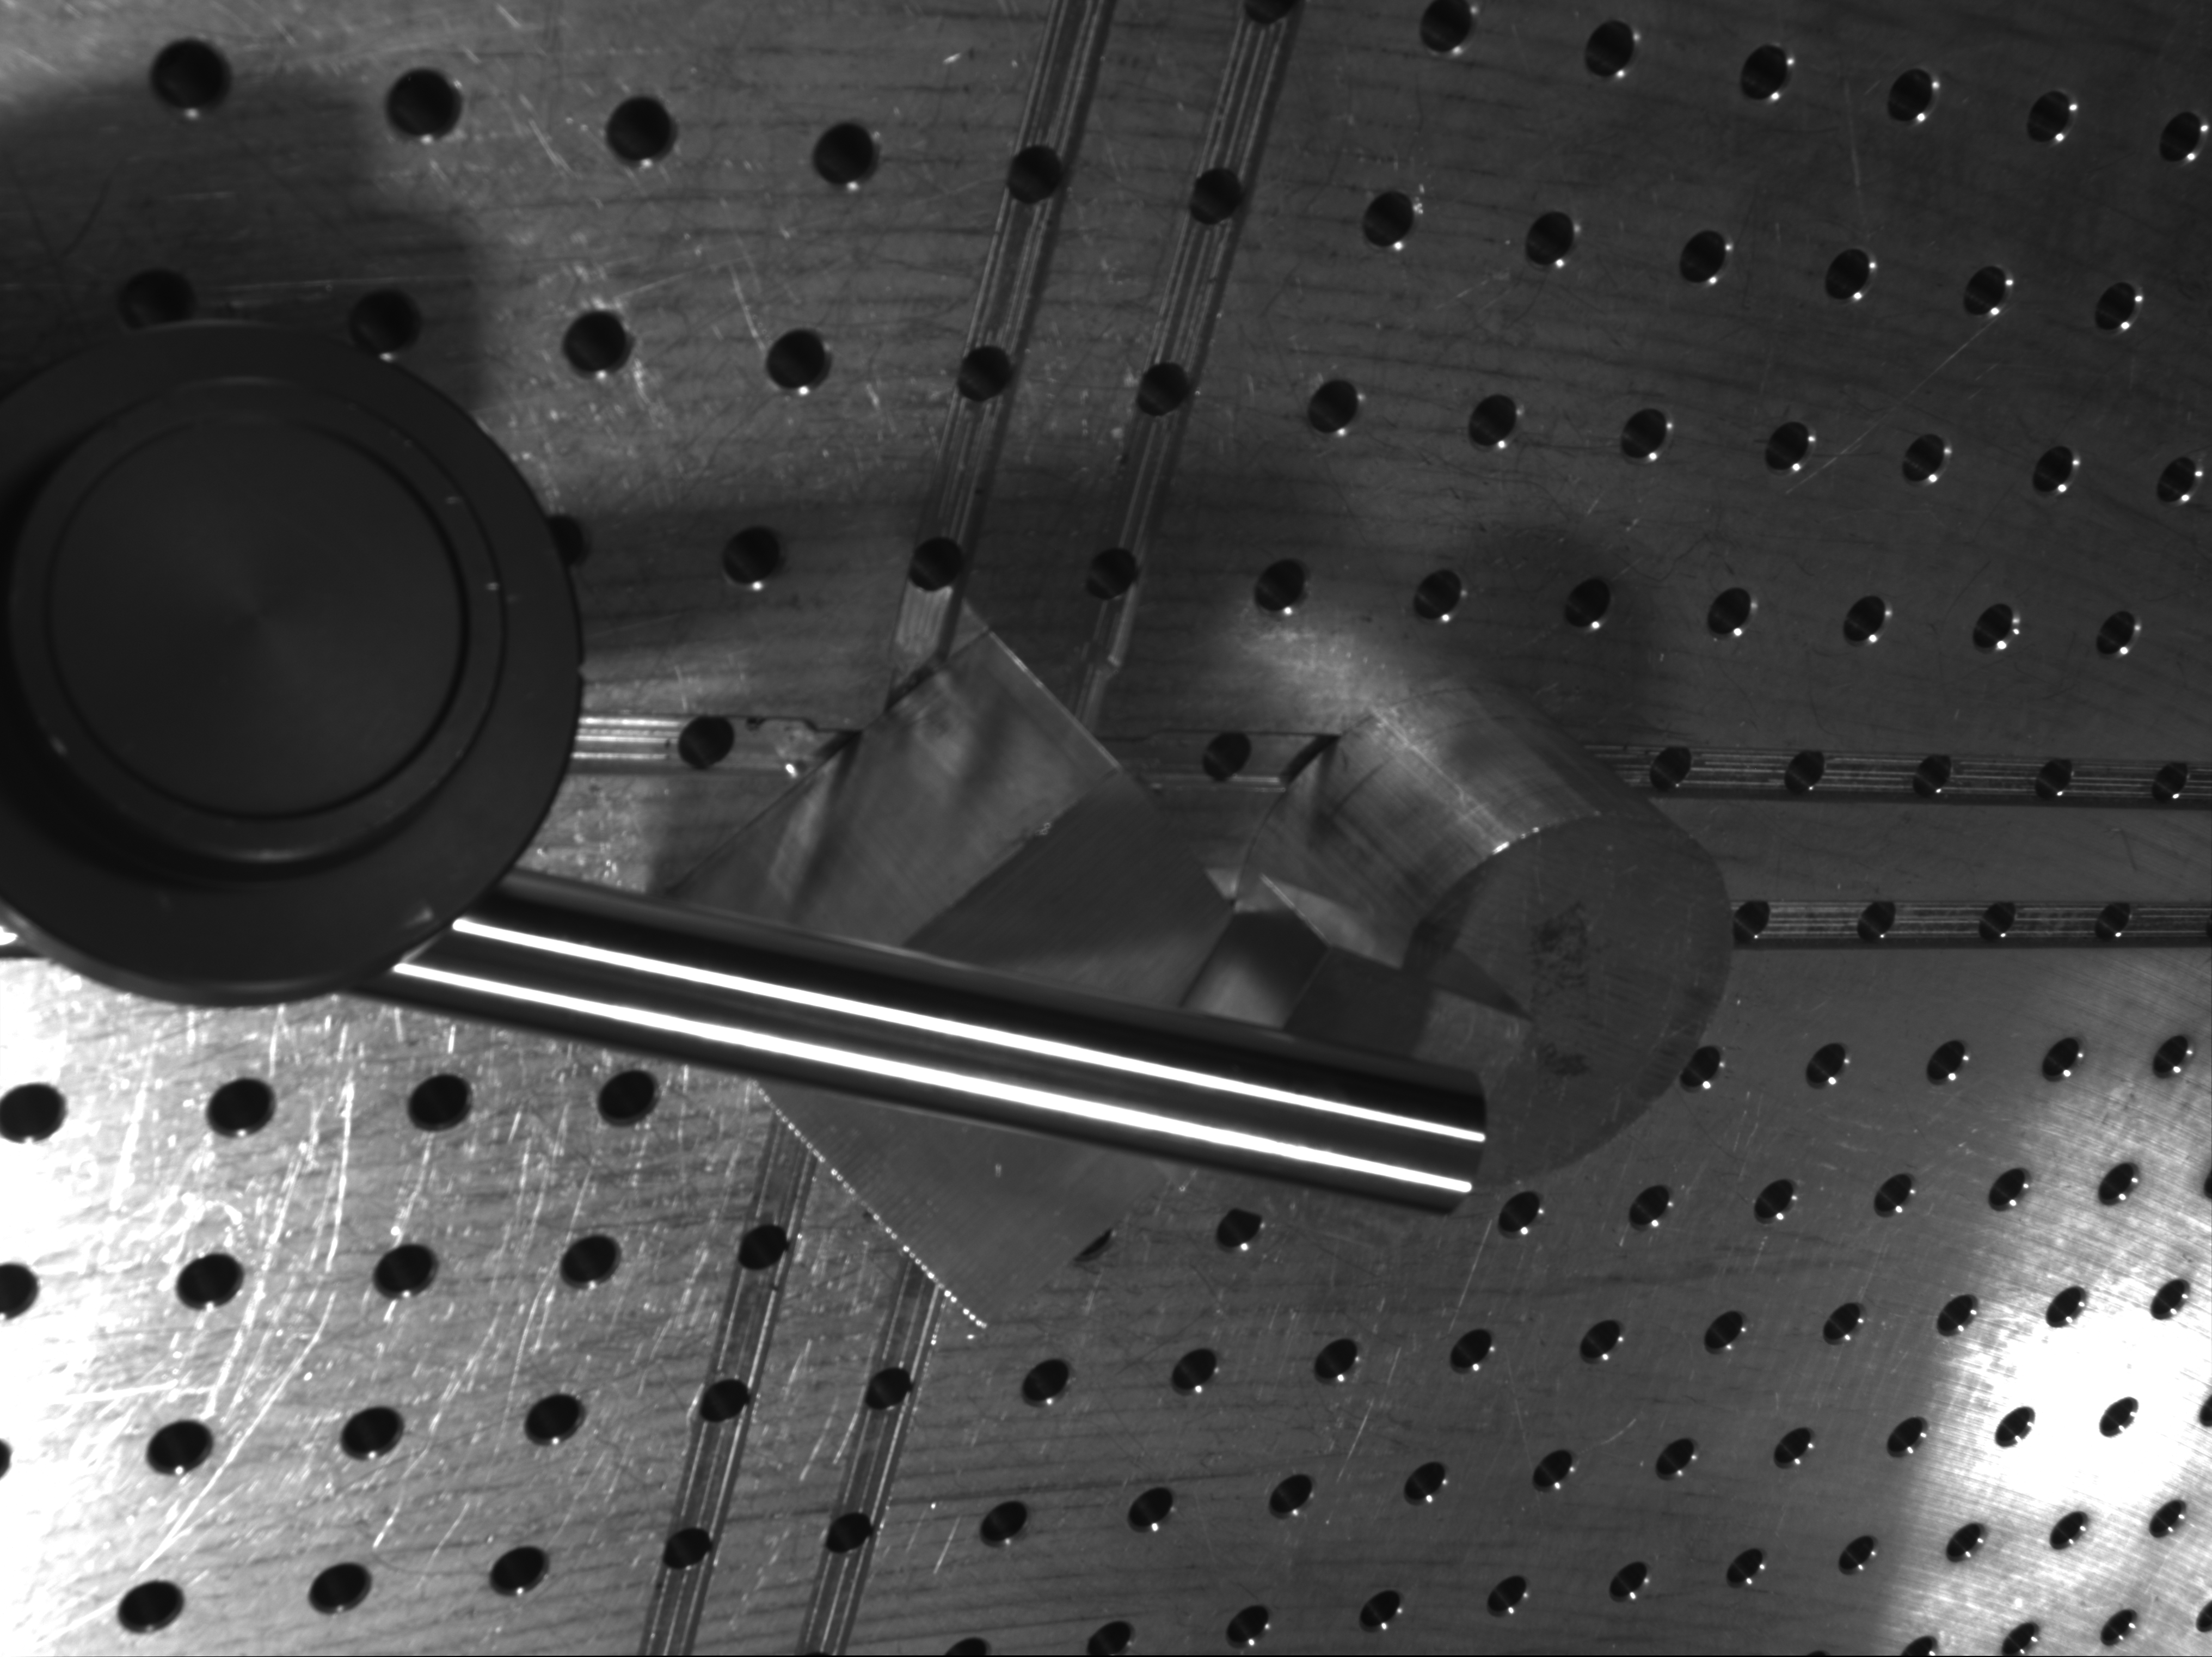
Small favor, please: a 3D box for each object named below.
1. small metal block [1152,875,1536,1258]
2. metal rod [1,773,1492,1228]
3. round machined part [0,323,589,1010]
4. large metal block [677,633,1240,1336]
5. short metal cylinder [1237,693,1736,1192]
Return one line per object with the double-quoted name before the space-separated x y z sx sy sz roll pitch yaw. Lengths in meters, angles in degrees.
"small metal block" 0.038 0.042 0.634 0.050 0.025 0.050 21 106 -37
"metal rod" -0.082 0.021 0.562 0.301 0.025 0.025 13 112 -17
"round machined part" -0.122 -0.025 0.521 0.098 0.042 0.098 4 79 -18
"large metal block" -0.020 0.028 0.640 0.080 0.050 0.080 -40 130 -3
"short metal cylinder" 0.071 0.021 0.692 0.080 0.050 0.080 -15 125 -22
